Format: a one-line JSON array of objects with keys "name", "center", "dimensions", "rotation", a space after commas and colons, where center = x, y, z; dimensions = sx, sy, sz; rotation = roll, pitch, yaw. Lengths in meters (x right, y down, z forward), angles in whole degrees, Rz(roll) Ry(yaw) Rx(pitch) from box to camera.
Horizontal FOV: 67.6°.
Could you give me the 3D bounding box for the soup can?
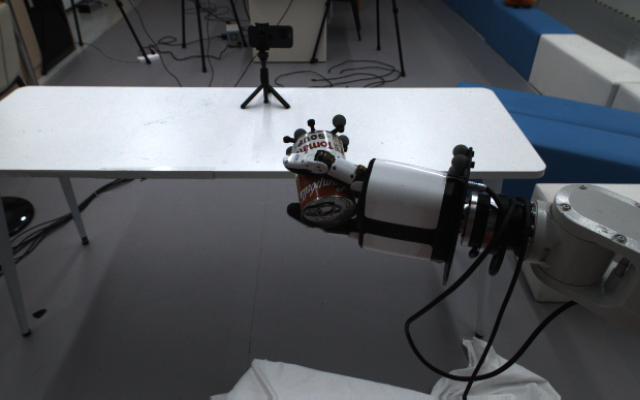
[{"name": "soup can", "center": [0.005, -0.026, 0.593], "dimensions": [0.067, 0.067, 0.101], "rotation": [-5, 57, -10]}]
